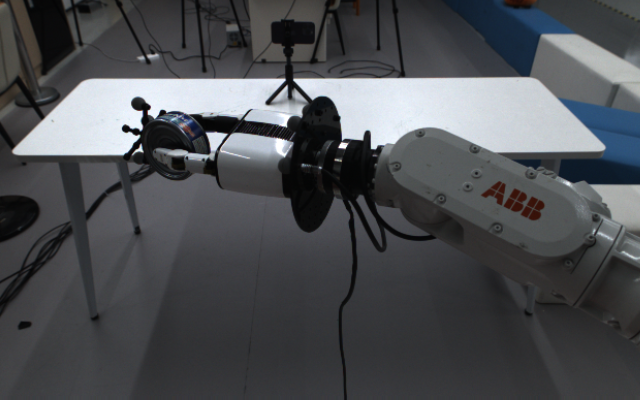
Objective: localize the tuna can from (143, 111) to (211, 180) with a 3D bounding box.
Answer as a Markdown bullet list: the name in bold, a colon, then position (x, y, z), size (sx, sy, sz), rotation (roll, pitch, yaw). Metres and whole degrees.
- **tuna can**: position (-0.187, -0.074, 0.628), size (0.085, 0.085, 0.034), rotation (13, 32, 16)
